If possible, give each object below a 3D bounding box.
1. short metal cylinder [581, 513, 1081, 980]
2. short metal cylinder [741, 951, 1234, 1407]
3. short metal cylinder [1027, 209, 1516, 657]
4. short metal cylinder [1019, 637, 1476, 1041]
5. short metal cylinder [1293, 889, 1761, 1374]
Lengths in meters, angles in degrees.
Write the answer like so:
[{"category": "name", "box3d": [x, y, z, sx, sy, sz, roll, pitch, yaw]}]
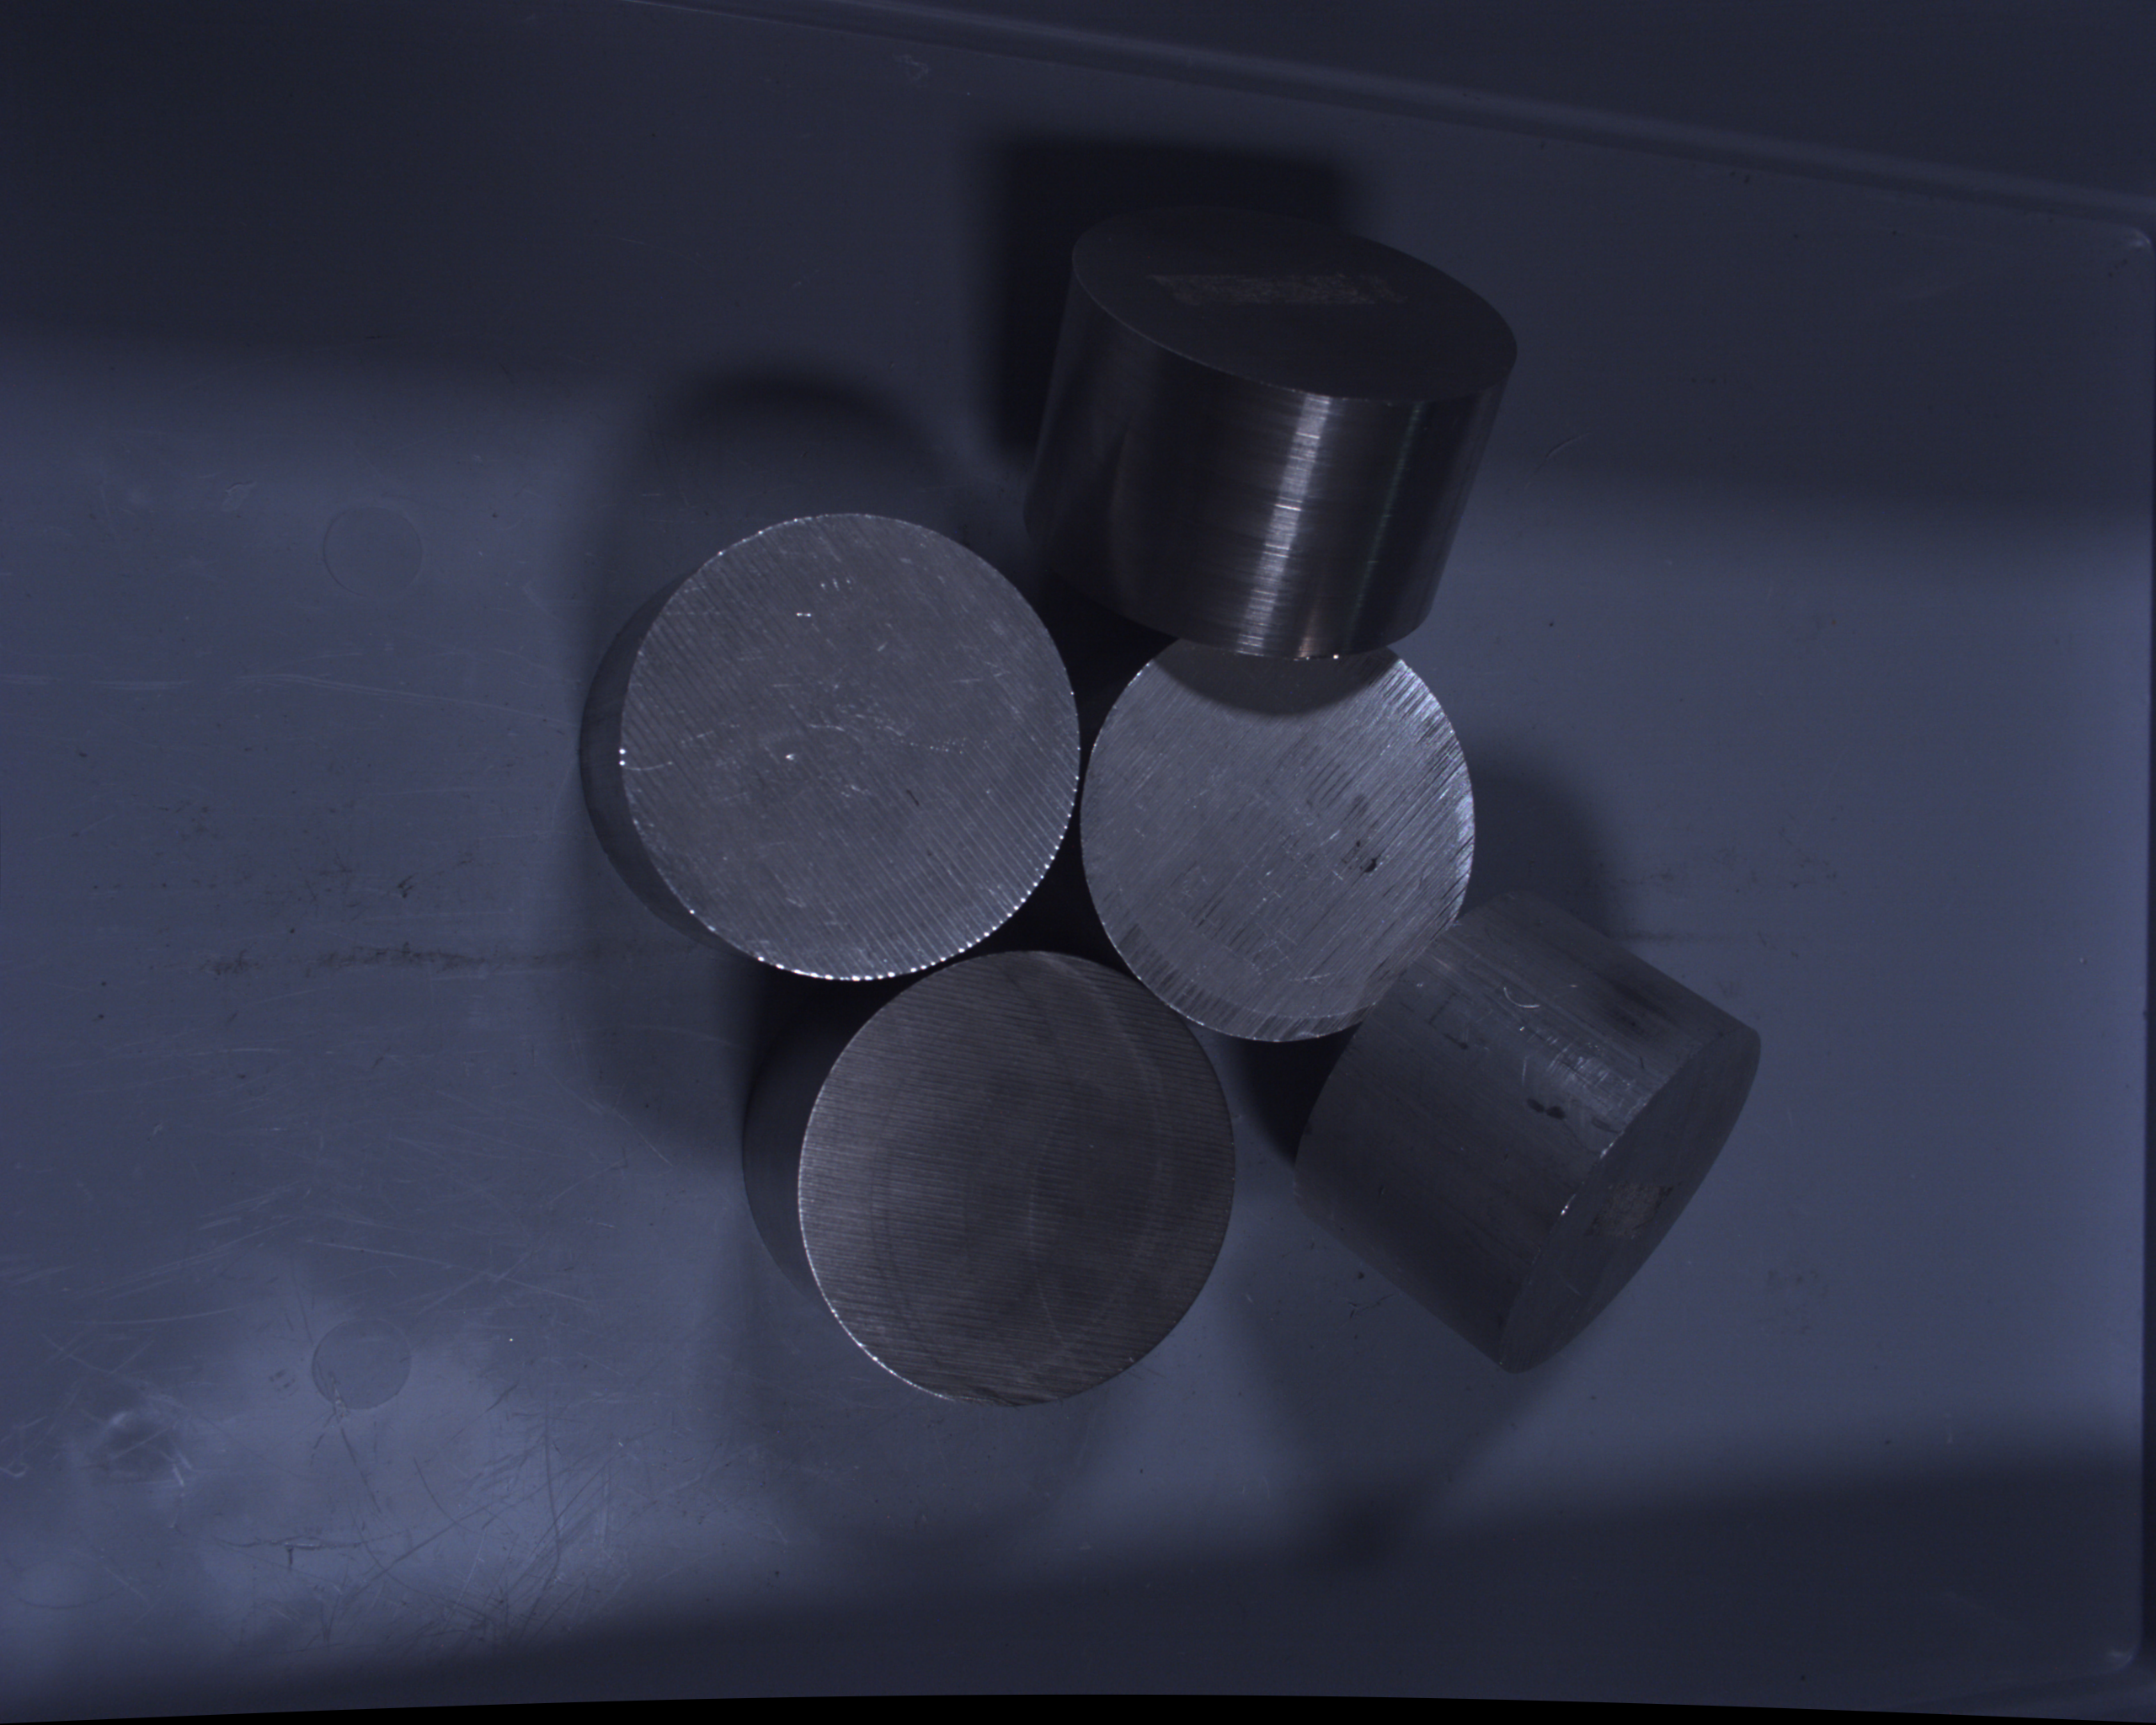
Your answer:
[{"category": "short metal cylinder", "box3d": [-0.046, -0.020, 0.379, 0.081, 0.050, 0.079, 0, 90, -21]}, {"category": "short metal cylinder", "box3d": [-0.018, 0.055, 0.390, 0.081, 0.050, 0.079, 0, 90, -21]}, {"category": "short metal cylinder", "box3d": [0.034, -0.081, 0.386, 0.081, 0.080, 0.050, -3, 130, -20]}, {"category": "short metal cylinder", "box3d": [0.029, -0.007, 0.407, 0.081, 0.050, 0.079, 0, 90, -21]}, {"category": "short metal cylinder", "box3d": [0.088, 0.052, 0.408, 0.080, 0.050, 0.080, -35, 145, -29]}]
